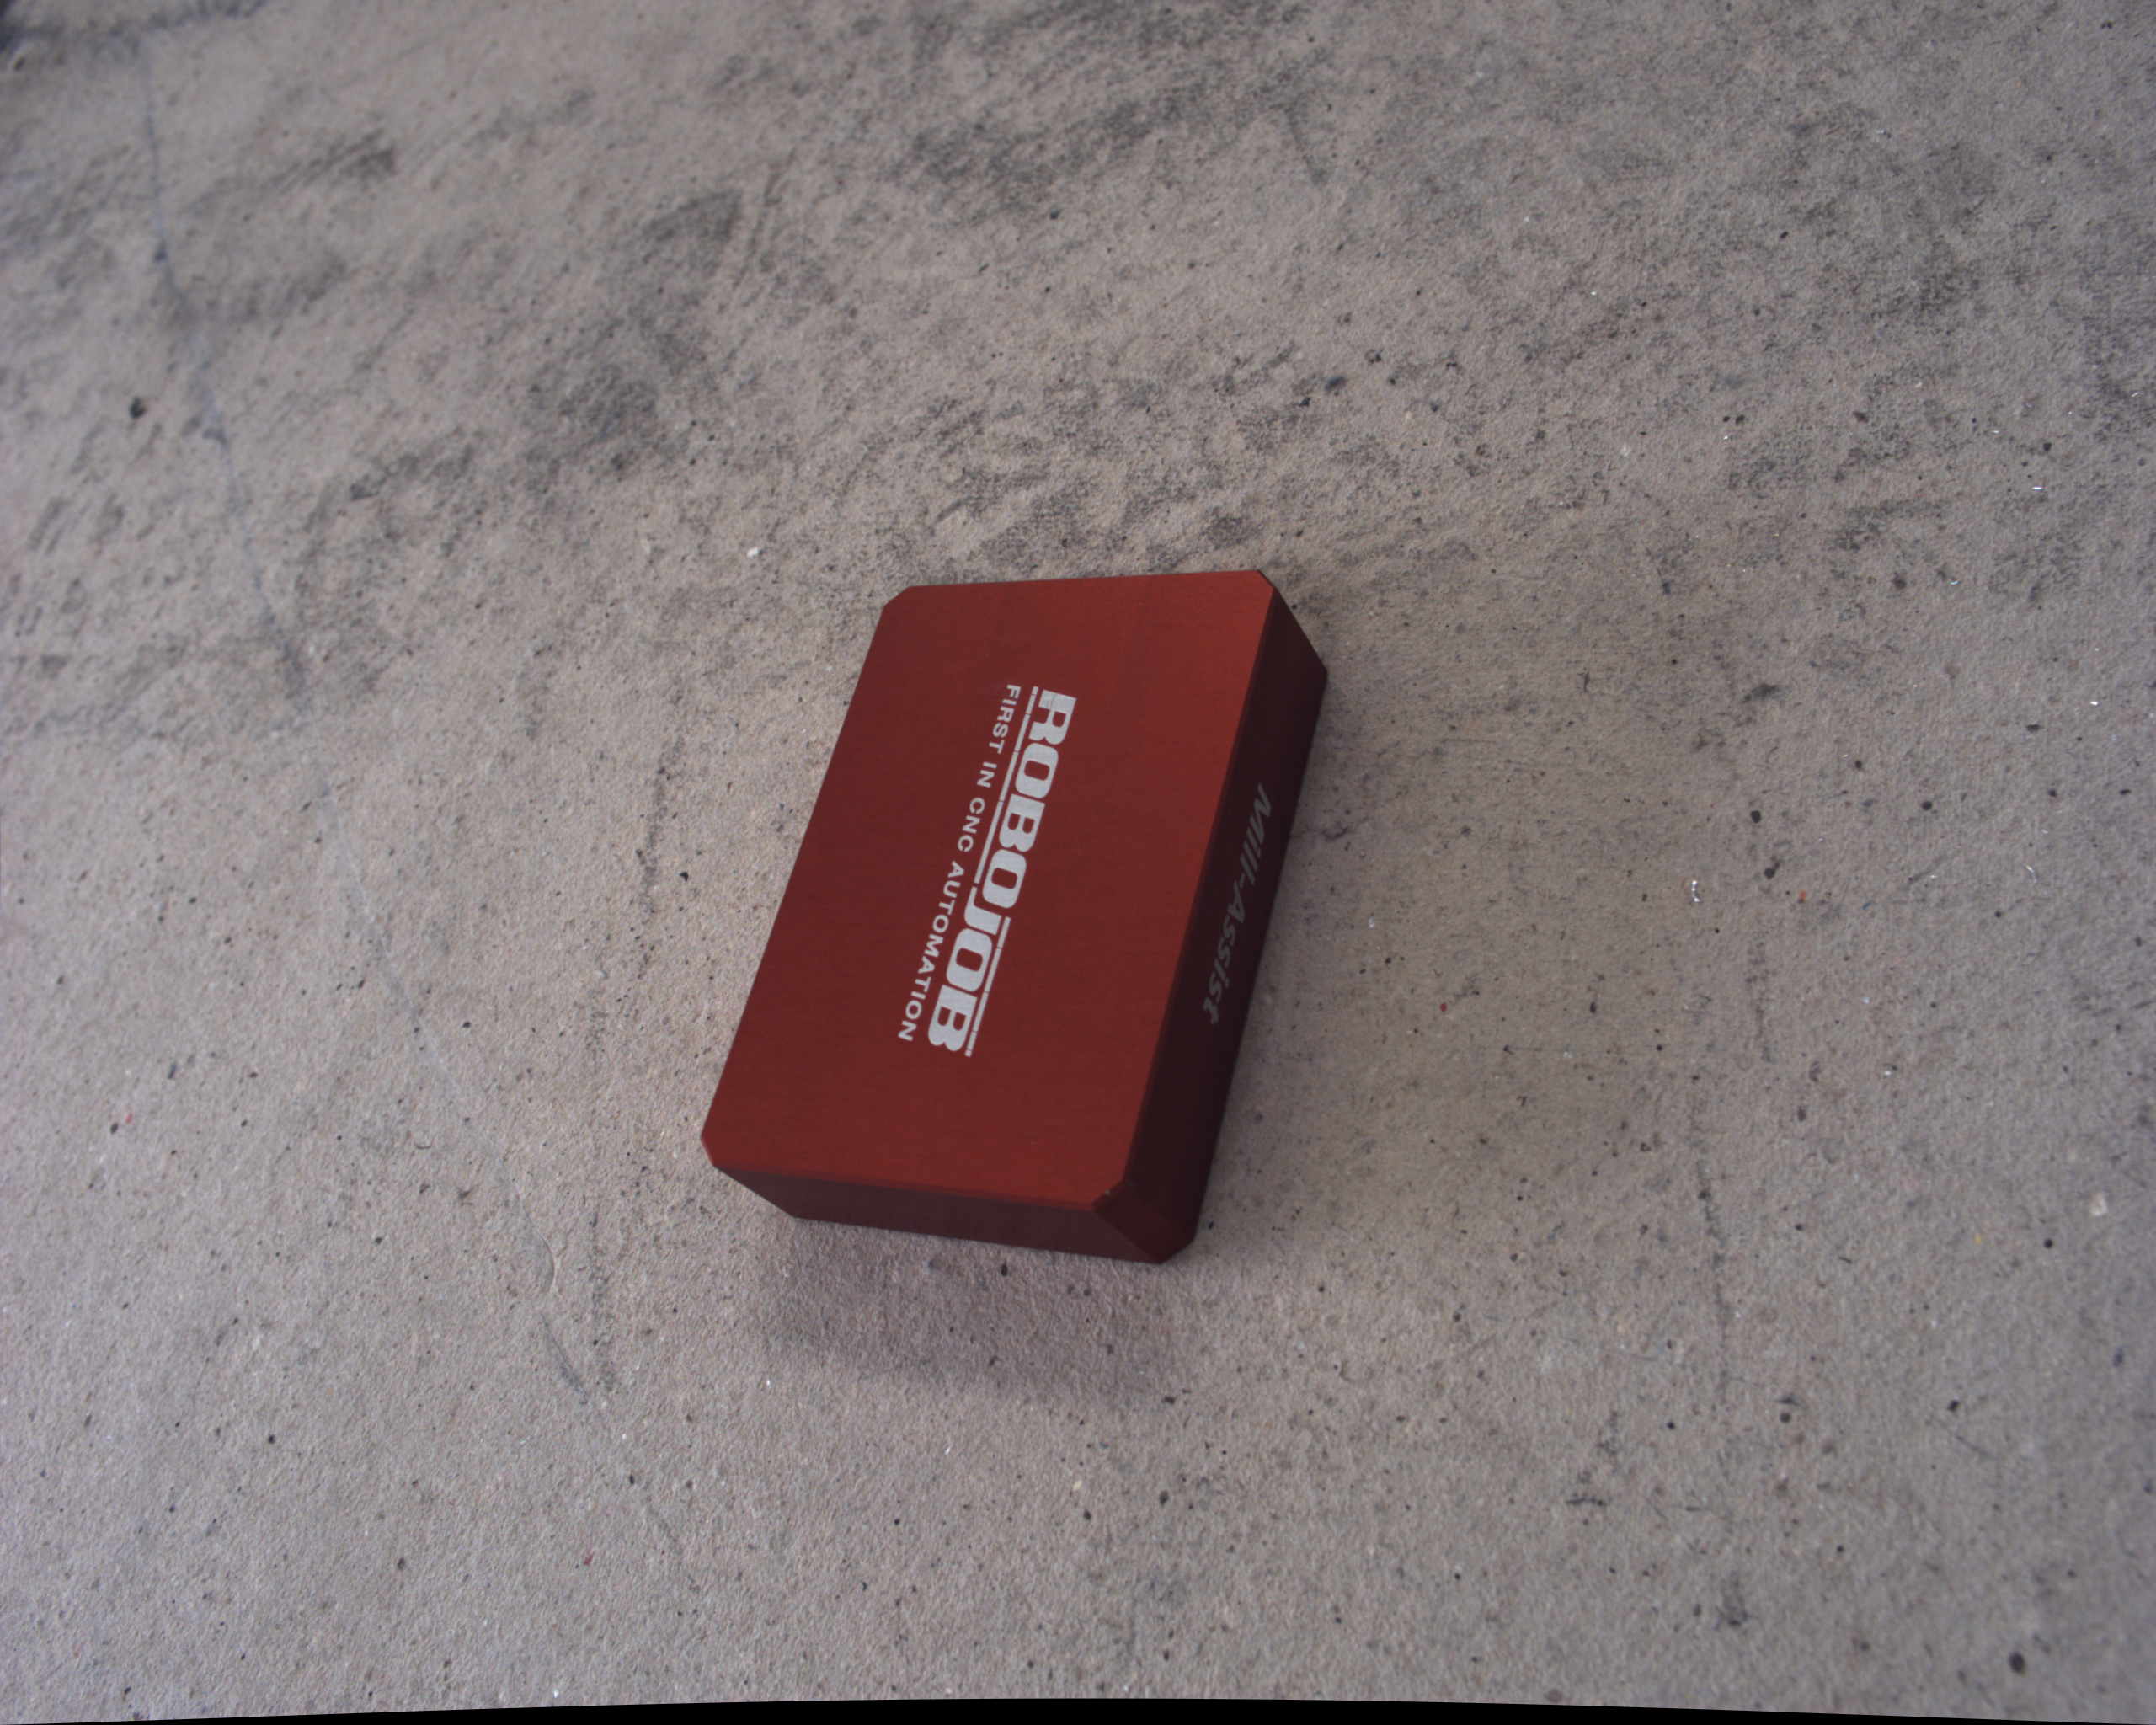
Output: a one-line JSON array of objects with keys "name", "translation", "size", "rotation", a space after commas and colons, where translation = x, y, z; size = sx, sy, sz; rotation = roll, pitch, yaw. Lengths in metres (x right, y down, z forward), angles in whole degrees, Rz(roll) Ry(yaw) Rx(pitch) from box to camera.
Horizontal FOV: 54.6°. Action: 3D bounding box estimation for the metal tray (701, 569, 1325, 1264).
[{"name": "metal tray", "translation": [-0.011, 0.007, 0.404], "size": [0.090, 0.030, 0.130], "rotation": [2, 63, 28]}]
